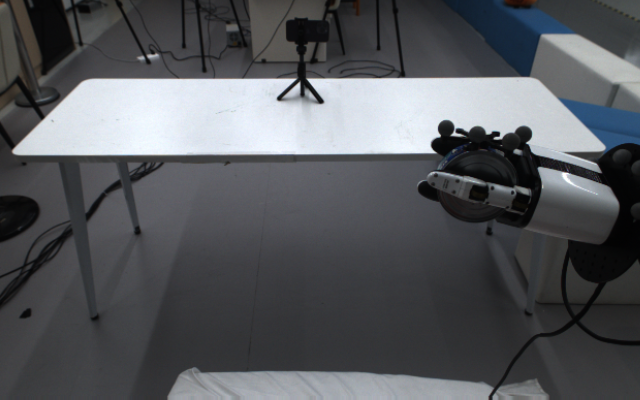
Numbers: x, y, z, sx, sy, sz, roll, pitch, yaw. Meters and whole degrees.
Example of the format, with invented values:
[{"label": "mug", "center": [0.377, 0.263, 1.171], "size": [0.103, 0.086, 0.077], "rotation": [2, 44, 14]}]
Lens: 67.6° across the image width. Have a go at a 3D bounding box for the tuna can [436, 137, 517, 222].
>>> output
[{"label": "tuna can", "center": [0.176, -0.021, 0.542], "size": [0.085, 0.085, 0.034], "rotation": [7, 22, 7]}]
